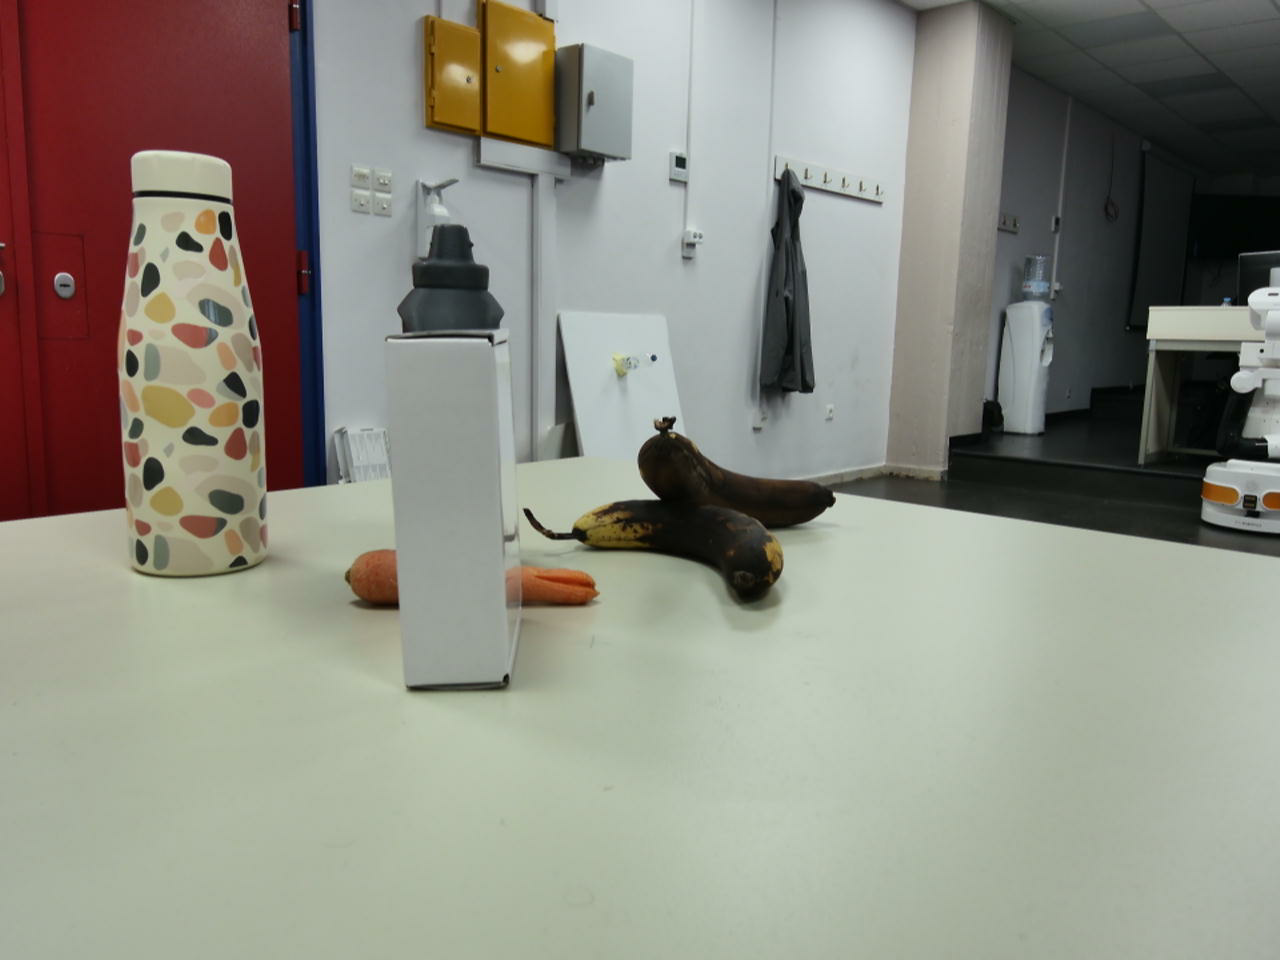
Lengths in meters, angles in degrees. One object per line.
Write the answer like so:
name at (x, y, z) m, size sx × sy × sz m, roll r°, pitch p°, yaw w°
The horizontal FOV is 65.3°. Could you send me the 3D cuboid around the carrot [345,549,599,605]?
carrot at (-0.091, 0.053, 0.545) m, size 0.136 × 0.032 × 0.030 m, roll 0°, pitch 7°, yaw -2°
